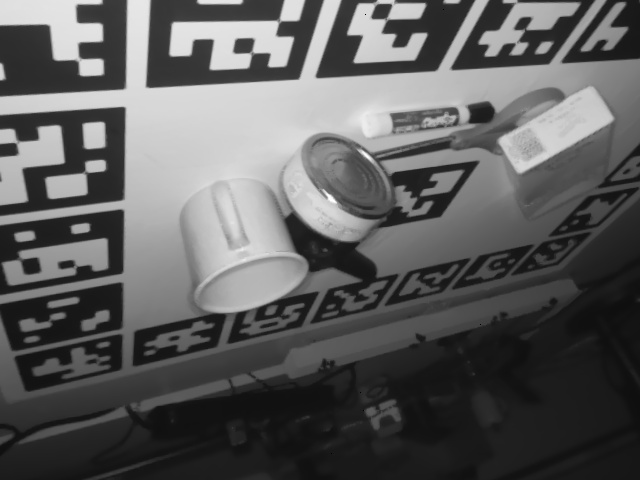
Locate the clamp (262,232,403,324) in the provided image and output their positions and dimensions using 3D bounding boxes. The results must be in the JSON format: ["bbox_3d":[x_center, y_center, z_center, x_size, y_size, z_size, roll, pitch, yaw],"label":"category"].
[{"bbox_3d":[0.018,0.013,0.712,0.167,0.037,0.201,-15,148,-12],"label":"clamp"}]

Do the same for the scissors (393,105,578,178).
[{"bbox_3d":[0.155,-0.079,0.648,0.204,0.016,0.087,-14,152,-12],"label":"scissors"}]

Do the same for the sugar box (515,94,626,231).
[{"bbox_3d":[0.255,-0.069,0.697,0.092,0.045,0.177,-28,155,11],"label":"sugar box"}]

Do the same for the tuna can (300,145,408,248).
[{"bbox_3d":[0.029,-0.037,0.571,0.087,0.086,0.033,2,142,-35],"label":"tuna can"}]

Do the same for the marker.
[{"bbox_3d":[0.120,-0.098,0.600,0.122,0.019,0.019,-11,147,-19],"label":"marker"}]

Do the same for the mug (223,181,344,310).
[{"bbox_3d":[-0.039,-0.002,0.593,0.093,0.081,0.117,-23,153,3],"label":"mug"}]
